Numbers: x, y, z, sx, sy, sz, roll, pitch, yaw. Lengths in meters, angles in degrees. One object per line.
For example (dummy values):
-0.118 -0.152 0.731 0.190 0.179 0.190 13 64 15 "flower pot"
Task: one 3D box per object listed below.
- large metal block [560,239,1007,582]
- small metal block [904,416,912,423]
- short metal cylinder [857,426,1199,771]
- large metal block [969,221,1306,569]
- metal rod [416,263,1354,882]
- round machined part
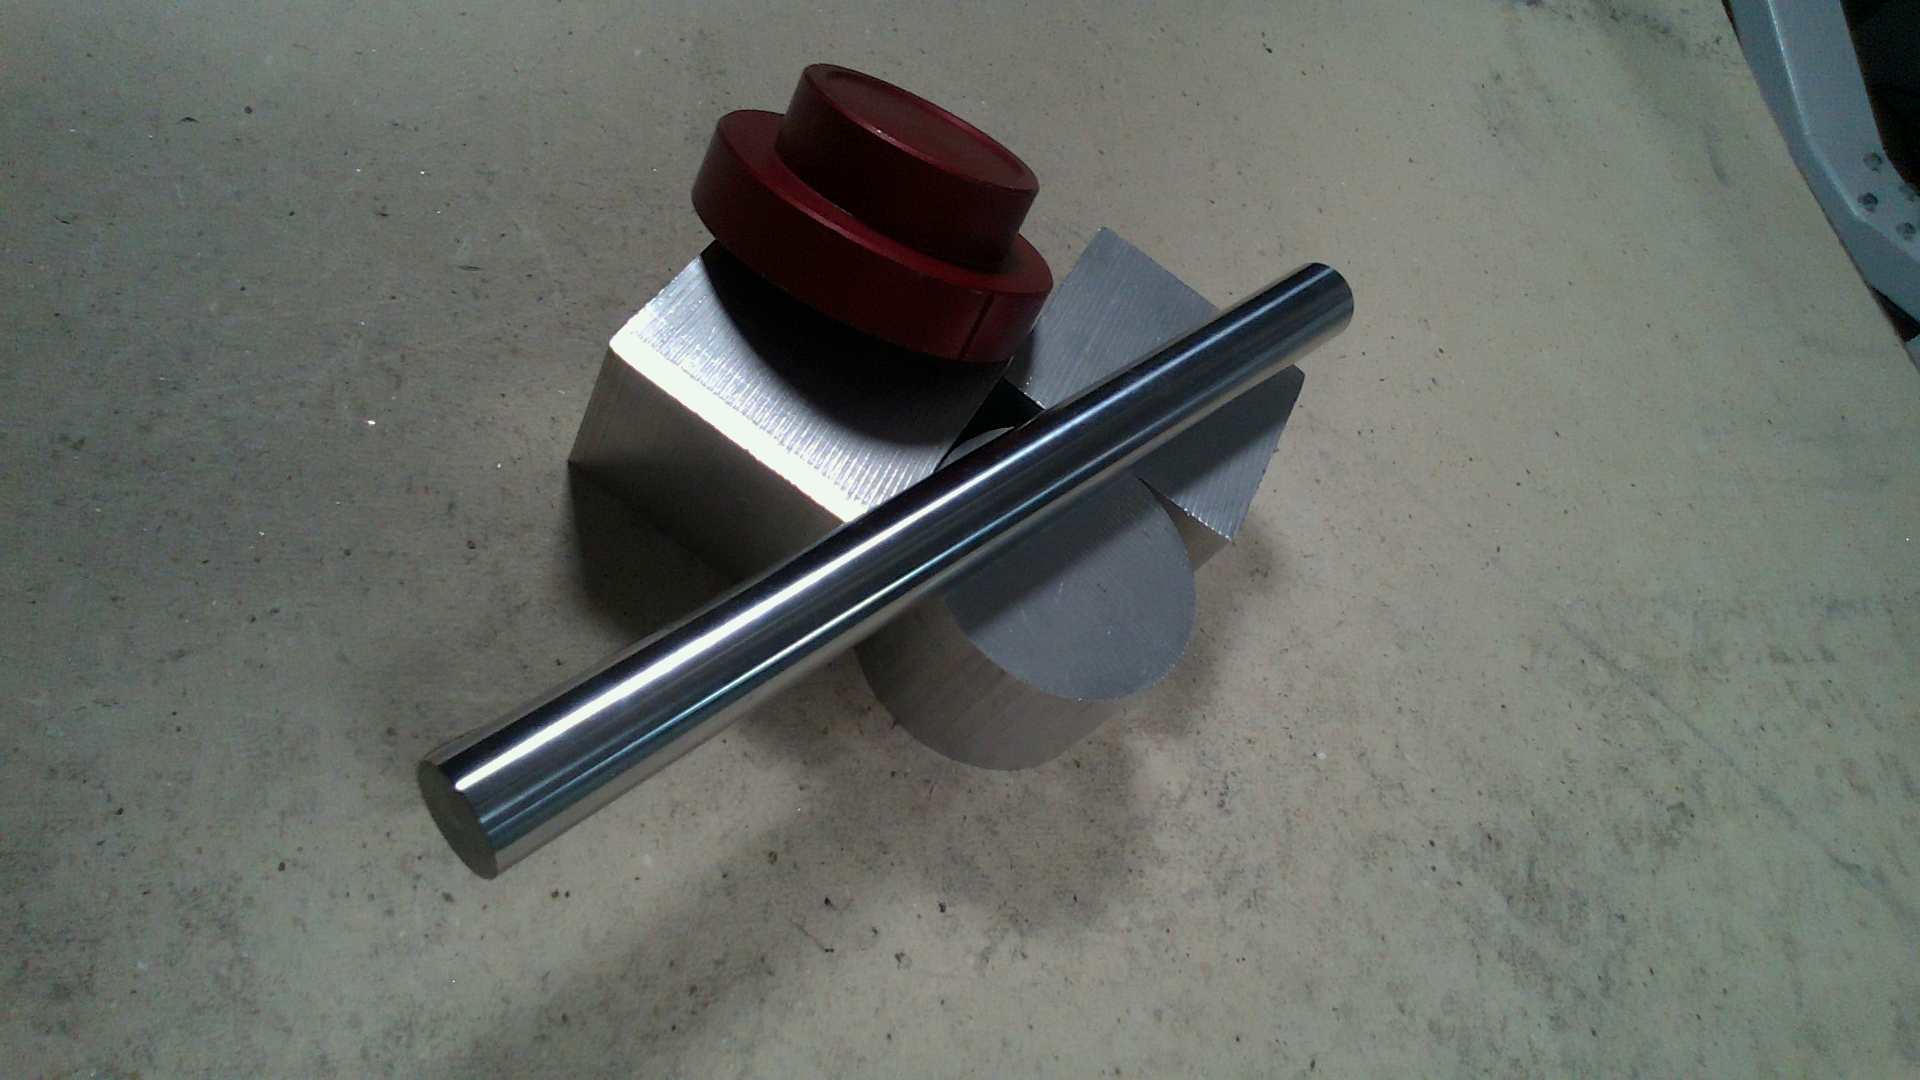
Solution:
-0.046 -0.036 0.370 0.080 0.050 0.080 36 51 -4 "large metal block"
-0.012 -0.065 0.423 0.050 0.025 0.050 37 51 -4 "small metal block"
0.017 0.016 0.372 0.080 0.050 0.080 14 56 -21 "short metal cylinder"
0.050 -0.037 0.423 0.080 0.050 0.080 36 51 -4 "large metal block"
0.011 -0.012 0.339 0.301 0.025 0.025 -32 79 -38 "metal rod"
-0.018 -0.092 0.368 0.098 0.042 0.098 23 25 -11 "round machined part"
